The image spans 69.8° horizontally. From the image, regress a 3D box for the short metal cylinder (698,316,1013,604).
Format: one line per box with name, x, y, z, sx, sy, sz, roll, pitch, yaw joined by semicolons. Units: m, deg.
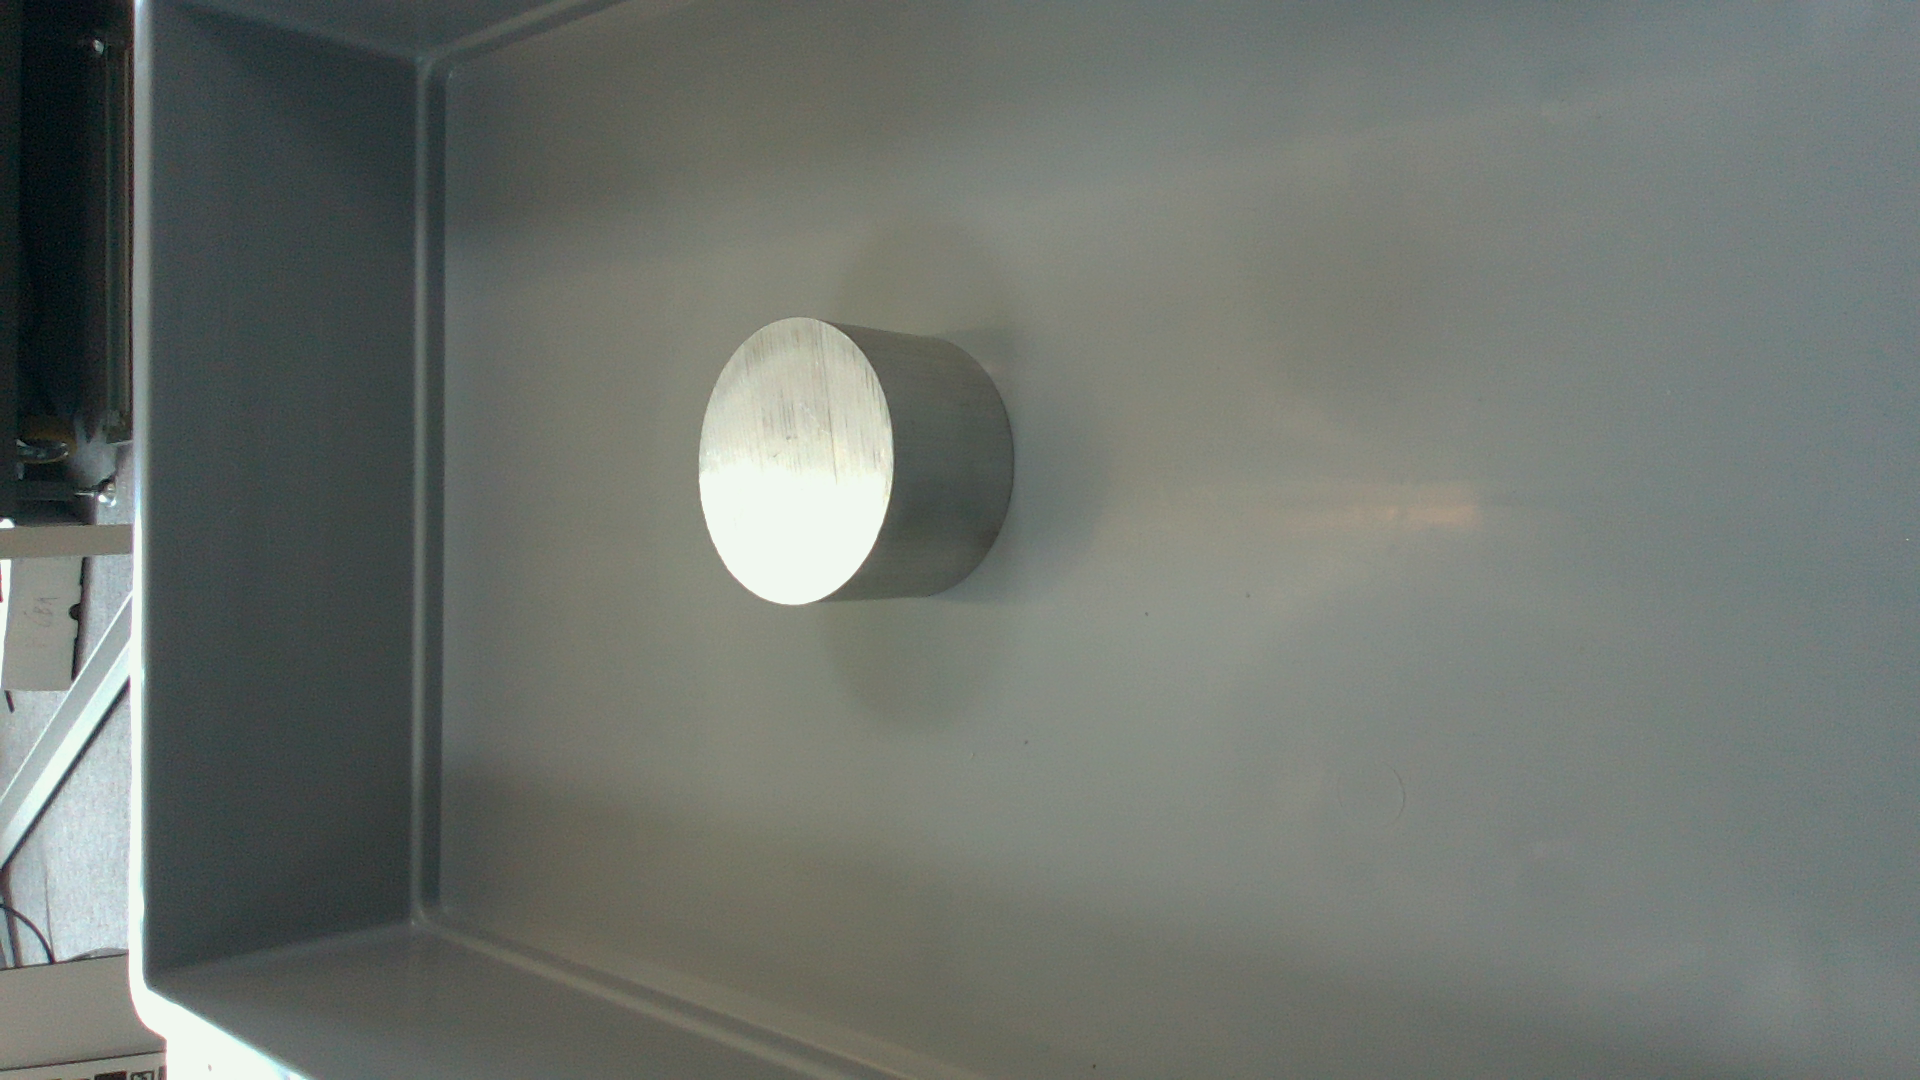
short metal cylinder;-0.031;-0.022;0.403;0.080;0.050;0.080;0;90;40
